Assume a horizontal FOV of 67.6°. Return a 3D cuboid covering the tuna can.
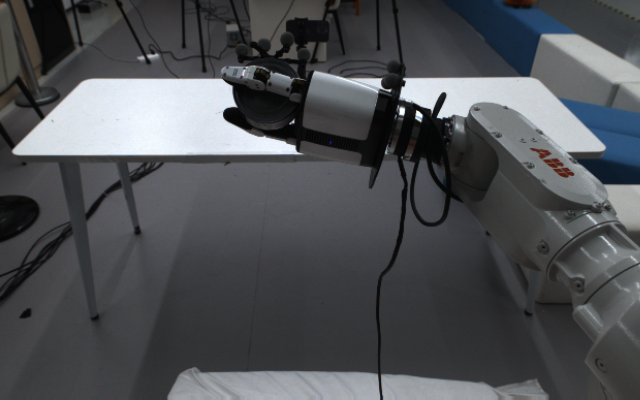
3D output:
[{"bbox_3d":[-0.065,-0.134,0.611,0.085,0.034,0.085,0,75,0],"label":"tuna can"}]
